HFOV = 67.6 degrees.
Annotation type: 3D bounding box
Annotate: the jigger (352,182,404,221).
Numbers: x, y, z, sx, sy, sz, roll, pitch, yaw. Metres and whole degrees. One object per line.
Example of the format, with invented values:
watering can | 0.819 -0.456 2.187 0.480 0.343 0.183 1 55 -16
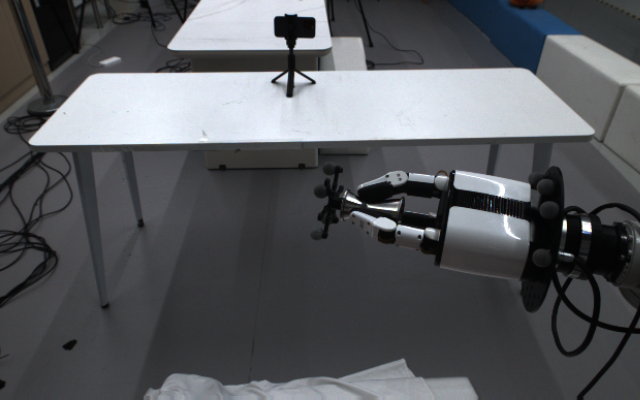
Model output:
jigger | 0.068 0.010 0.571 0.071 0.043 0.043 11 36 15
